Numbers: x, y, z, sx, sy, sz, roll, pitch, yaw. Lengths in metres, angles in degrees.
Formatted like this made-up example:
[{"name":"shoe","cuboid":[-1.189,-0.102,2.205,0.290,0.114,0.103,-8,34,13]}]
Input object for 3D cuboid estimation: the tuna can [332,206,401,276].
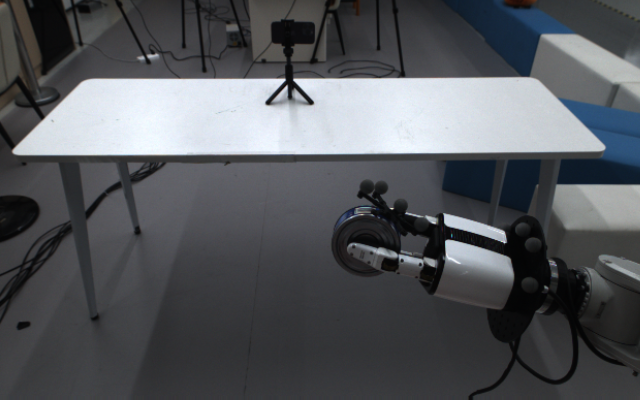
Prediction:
[{"name":"tuna can","cuboid":[0.061,0.058,0.596,0.085,0.085,0.034,6,19,6]}]
